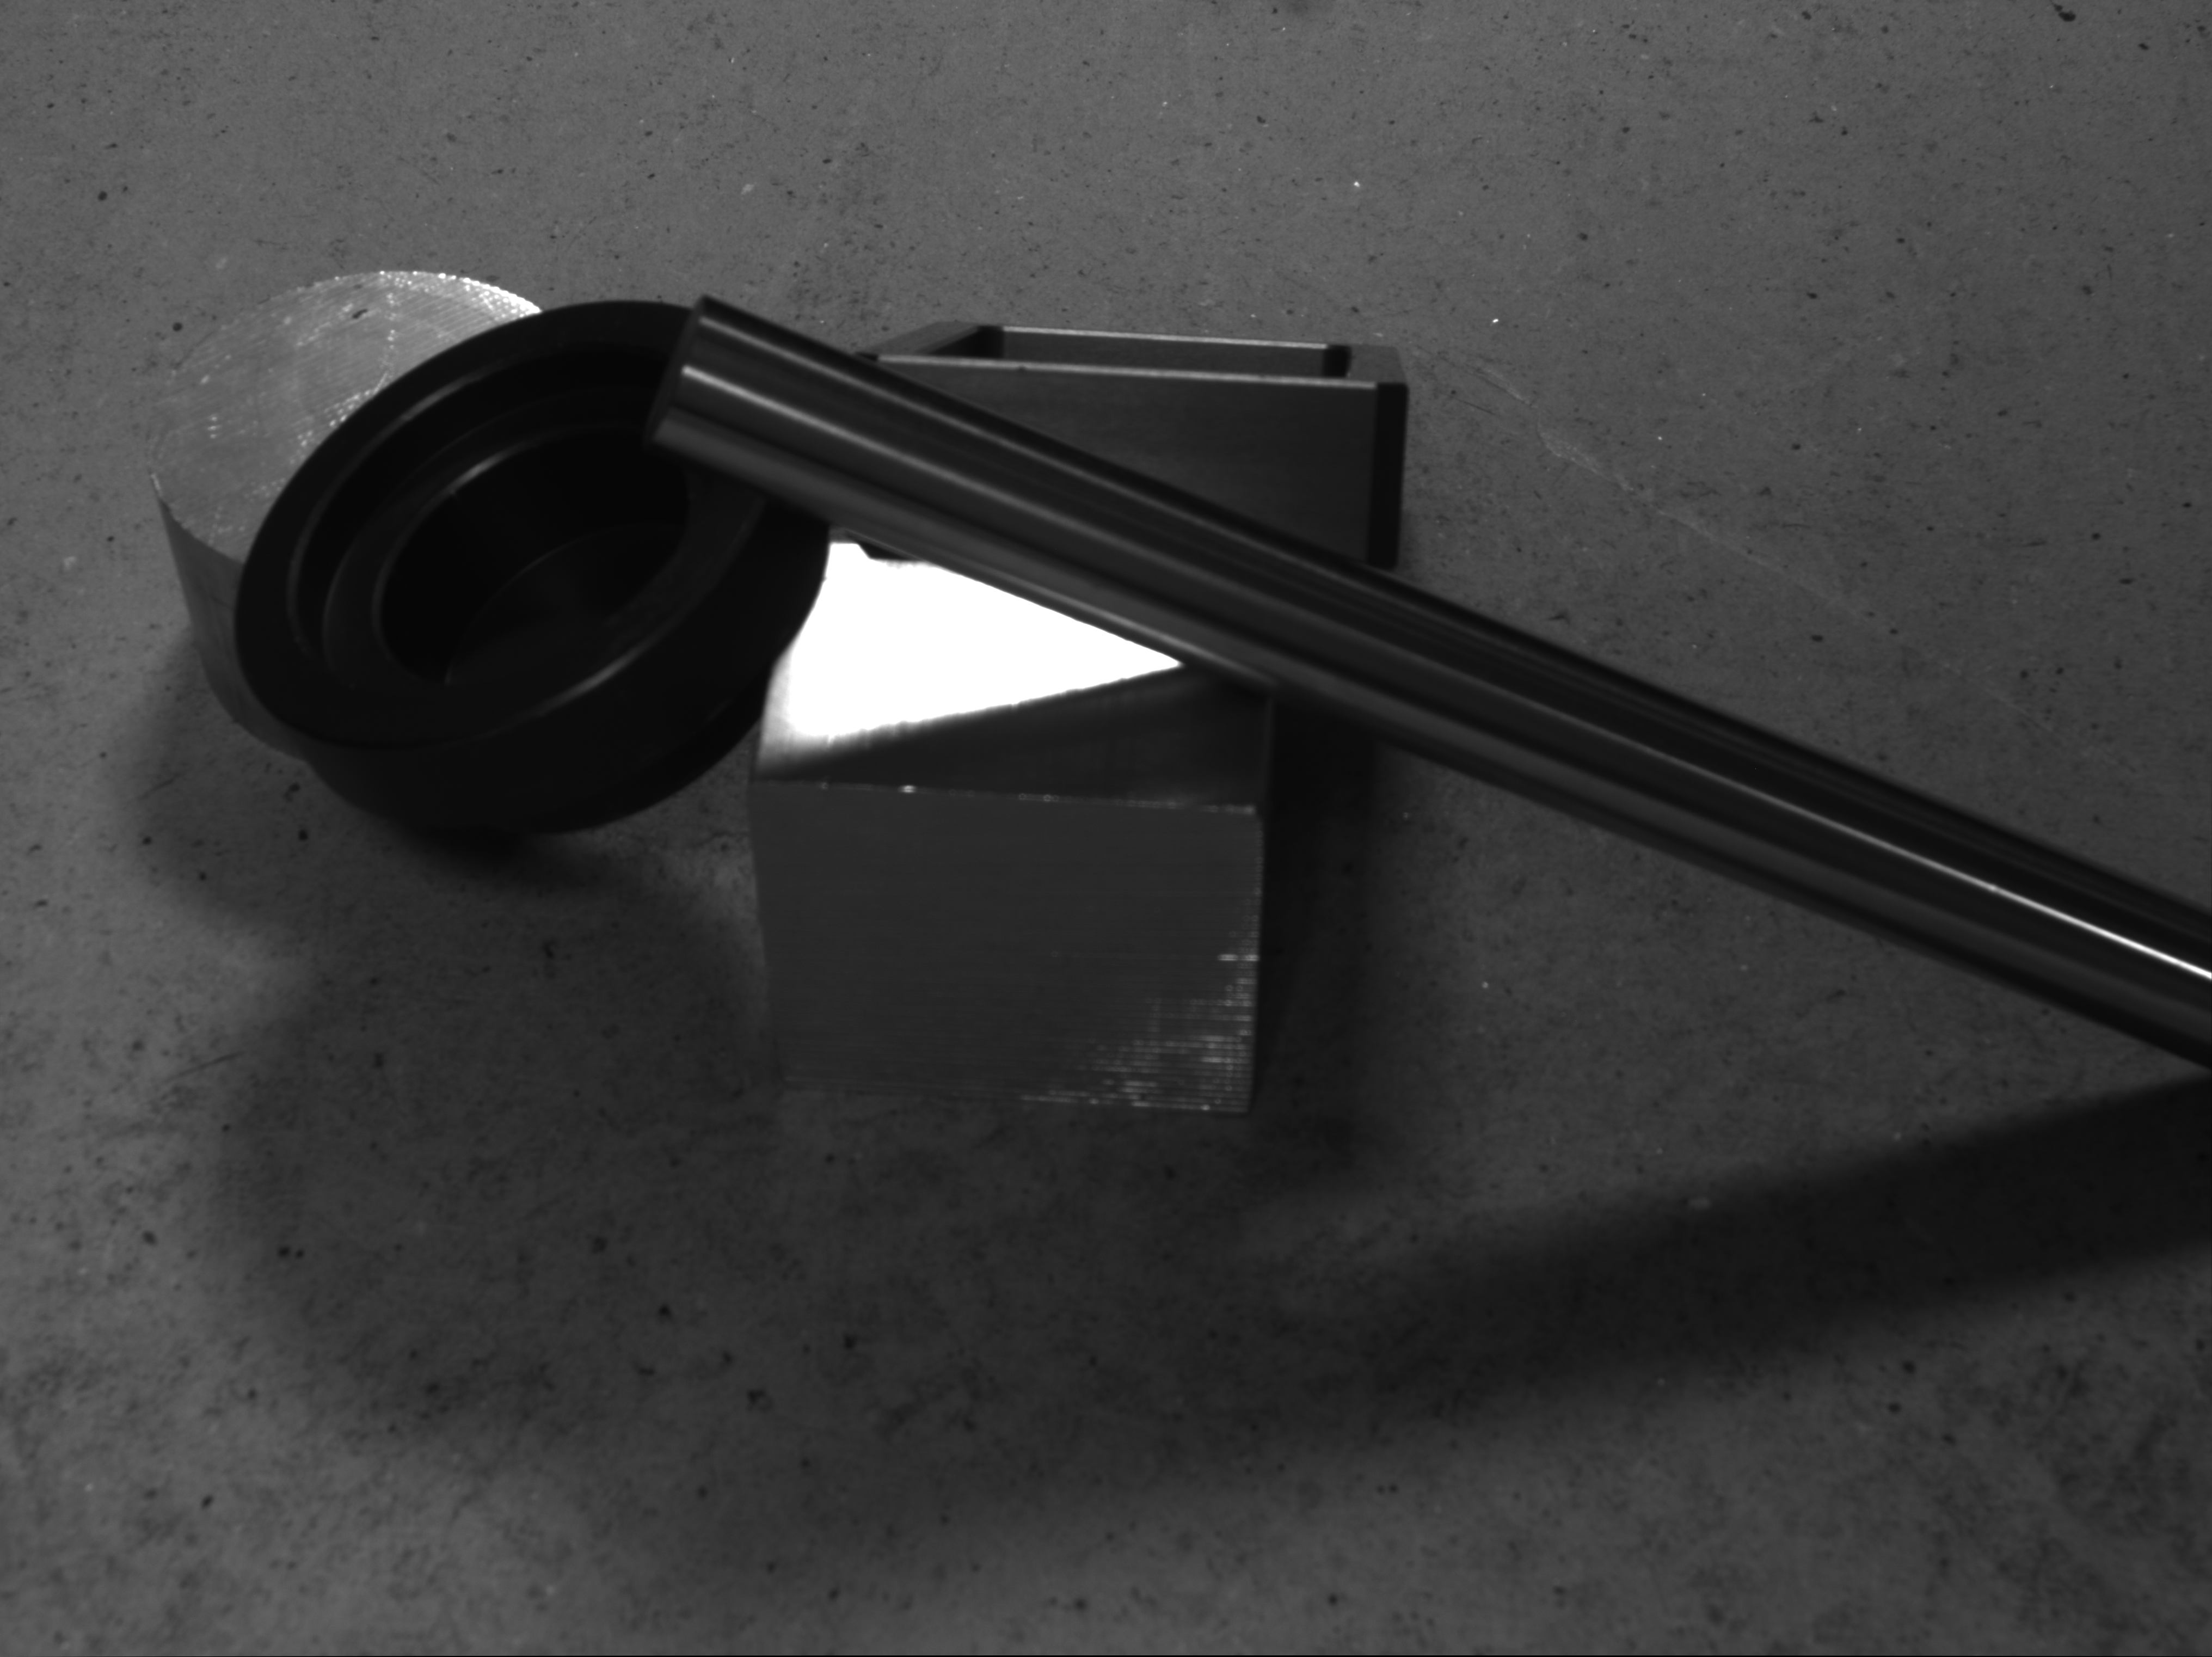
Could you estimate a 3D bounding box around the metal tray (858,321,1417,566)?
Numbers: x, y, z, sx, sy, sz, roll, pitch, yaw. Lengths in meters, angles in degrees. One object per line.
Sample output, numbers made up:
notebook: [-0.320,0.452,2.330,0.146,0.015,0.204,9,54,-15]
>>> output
metal tray: [0.008,-0.070,0.649,0.090,0.030,0.130,4,10,3]

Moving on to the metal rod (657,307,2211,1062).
metal rod: [0.075,-0.015,0.578,0.300,0.025,0.025,20,49,-14]

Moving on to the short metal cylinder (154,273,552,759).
short metal cylinder: [-0.130,-0.056,0.674,0.080,0.050,0.080,0,50,0]

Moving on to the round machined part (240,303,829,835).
round machined part: [-0.089,-0.038,0.605,0.098,0.042,0.098,-14,47,15]

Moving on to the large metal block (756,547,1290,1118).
large metal block: [-0.011,0.001,0.605,0.080,0.080,0.050,4,50,3]
